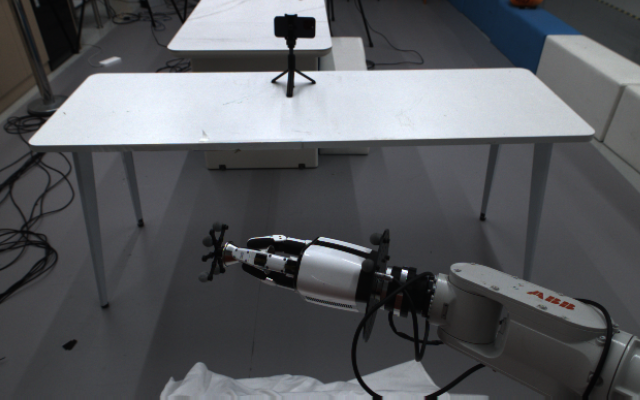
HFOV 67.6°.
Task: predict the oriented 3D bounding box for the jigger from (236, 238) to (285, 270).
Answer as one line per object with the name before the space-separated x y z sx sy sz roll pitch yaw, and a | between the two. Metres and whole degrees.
jigger | -0.100 0.082 0.721 0.071 0.043 0.043 6 35 14
